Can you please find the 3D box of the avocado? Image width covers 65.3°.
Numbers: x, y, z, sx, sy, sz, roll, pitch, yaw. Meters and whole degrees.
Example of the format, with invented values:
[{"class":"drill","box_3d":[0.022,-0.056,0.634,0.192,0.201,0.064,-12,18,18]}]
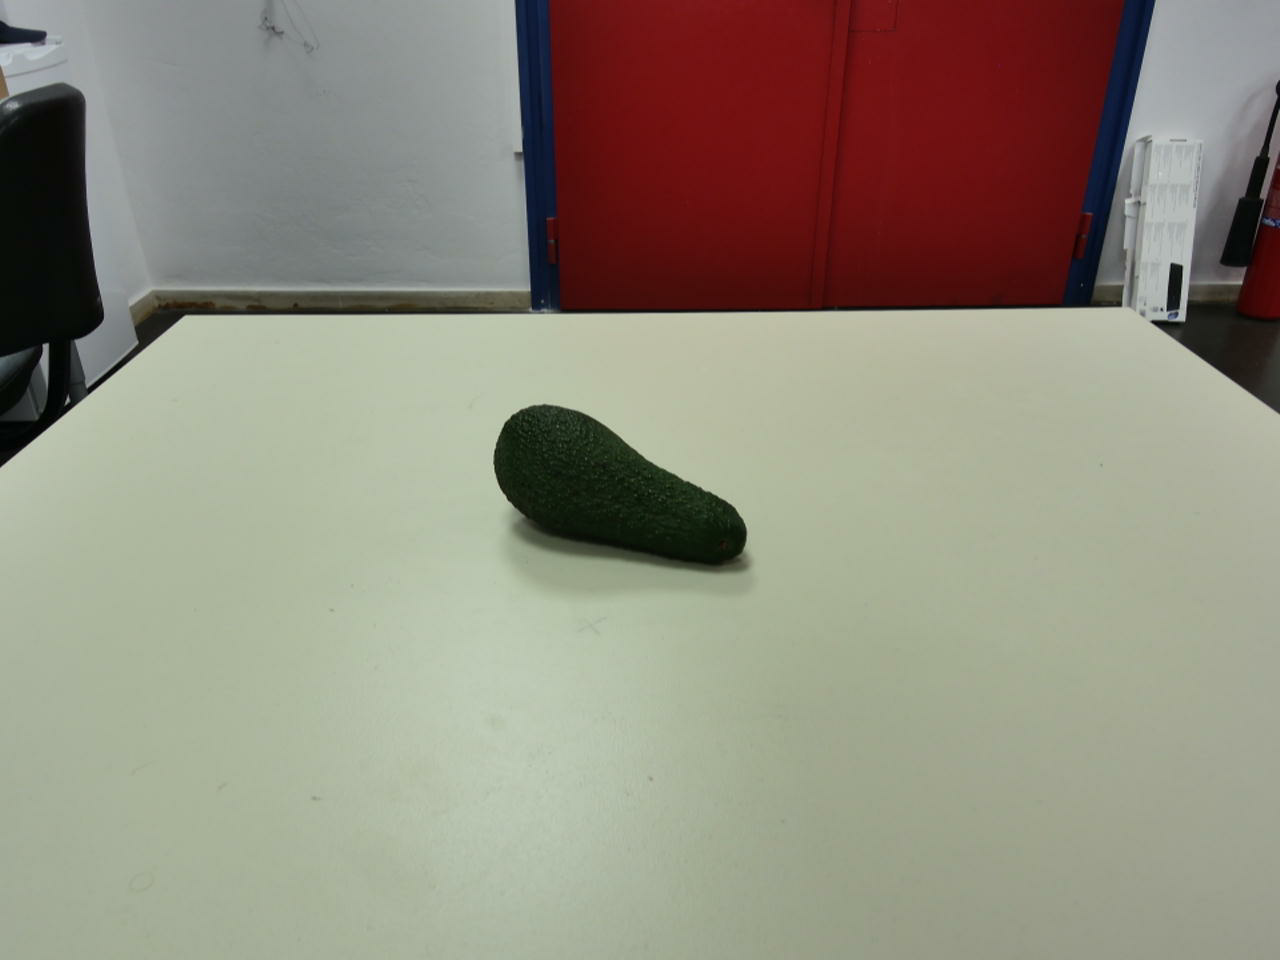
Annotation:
[{"class":"avocado","box_3d":[-0.009,-0.001,0.512,0.141,0.067,0.063,7,26,14]}]
